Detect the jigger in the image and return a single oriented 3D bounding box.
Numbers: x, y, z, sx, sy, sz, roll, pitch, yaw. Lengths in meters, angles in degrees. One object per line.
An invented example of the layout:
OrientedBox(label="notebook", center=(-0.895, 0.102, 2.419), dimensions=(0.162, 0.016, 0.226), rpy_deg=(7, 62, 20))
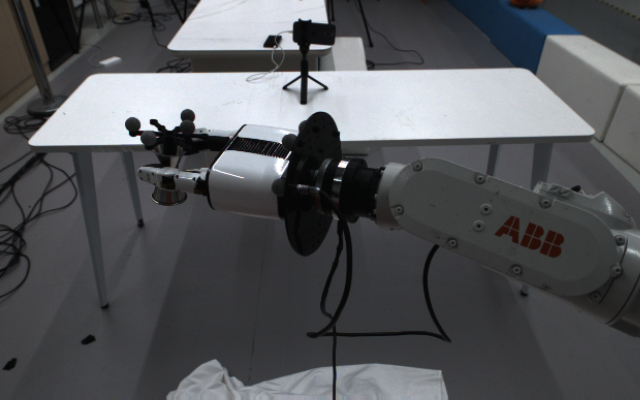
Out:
OrientedBox(label="jigger", center=(-0.184, -0.033, 0.593), dimensions=(0.043, 0.071, 0.043), rpy_deg=(9, 30, -5))
